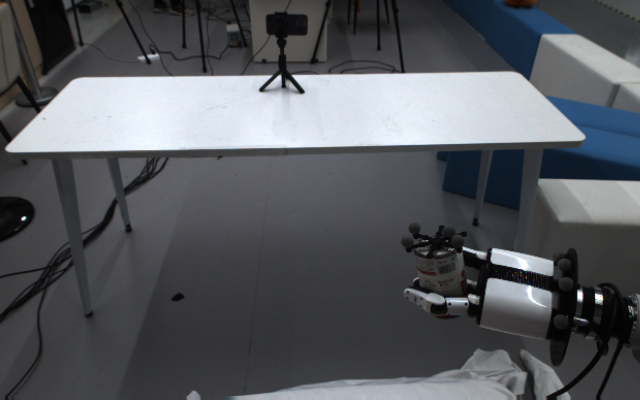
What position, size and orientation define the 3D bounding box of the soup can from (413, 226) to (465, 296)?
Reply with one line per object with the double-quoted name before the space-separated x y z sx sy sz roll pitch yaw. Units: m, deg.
"soup can" 0.175 0.108 0.689 0.067 0.101 0.067 -12 19 4
